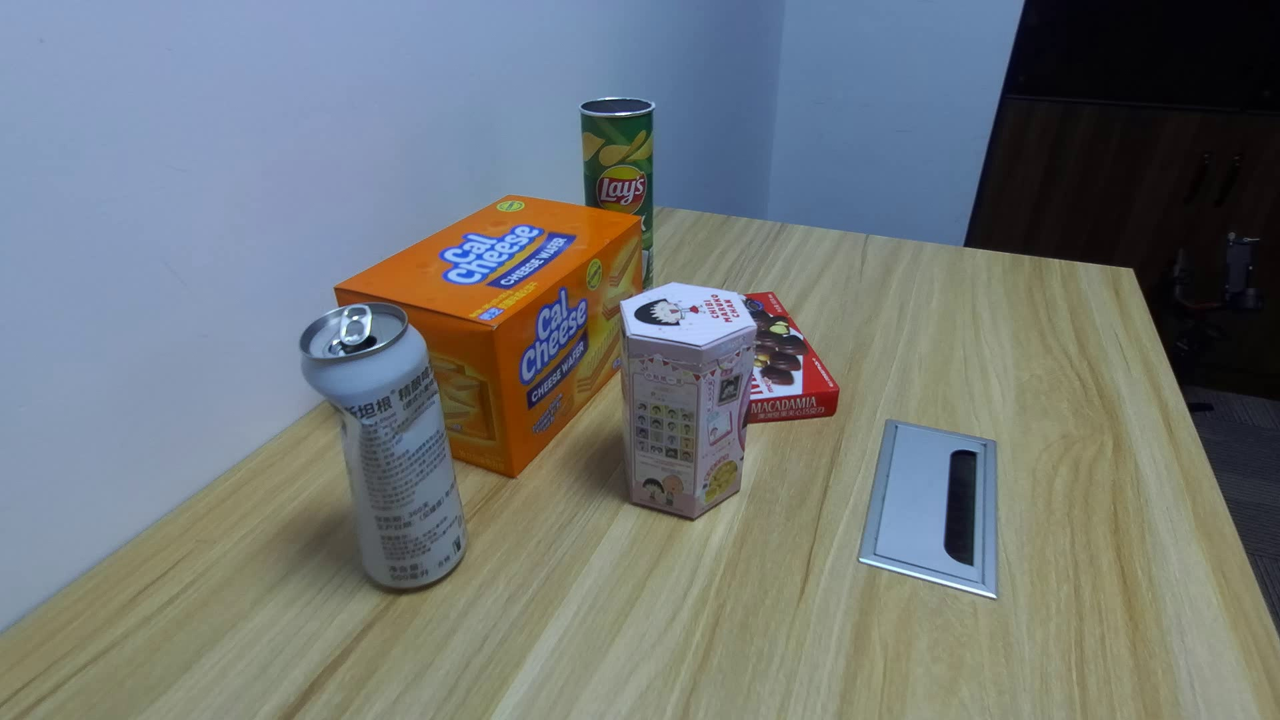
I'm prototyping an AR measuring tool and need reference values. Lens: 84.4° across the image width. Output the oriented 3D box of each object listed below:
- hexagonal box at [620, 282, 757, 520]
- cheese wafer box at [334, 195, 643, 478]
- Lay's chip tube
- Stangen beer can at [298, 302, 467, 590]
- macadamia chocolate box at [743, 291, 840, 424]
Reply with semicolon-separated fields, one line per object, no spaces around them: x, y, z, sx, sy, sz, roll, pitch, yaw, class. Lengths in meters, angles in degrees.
0.031;0.027;0.475;0.084;0.136;0.091;-6;32;-7;hexagonal box
-0.107;-0.034;0.590;0.147;0.129;0.222;14;35;22;cheese wafer box
-0.018;-0.149;0.696;0.071;0.203;0.071;-1;33;1;Lay's chip tube
-0.147;0.053;0.407;0.069;0.173;0.070;2;31;8;Stangen beer can
0.101;-0.007;0.633;0.096;0.027;0.177;-5;32;-6;macadamia chocolate box
